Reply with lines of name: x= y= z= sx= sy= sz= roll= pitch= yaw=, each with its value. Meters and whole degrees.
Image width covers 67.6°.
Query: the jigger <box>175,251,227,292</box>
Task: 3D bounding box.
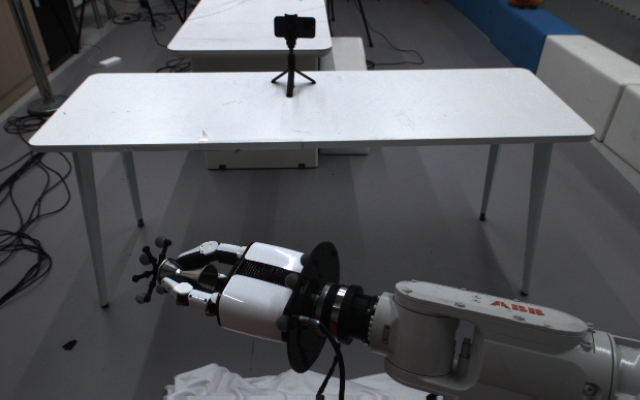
jigger: x=-0.172 y=0.100 z=0.649 sx=0.071 sy=0.043 sz=0.043 roll=6 pitch=34 yaw=23
